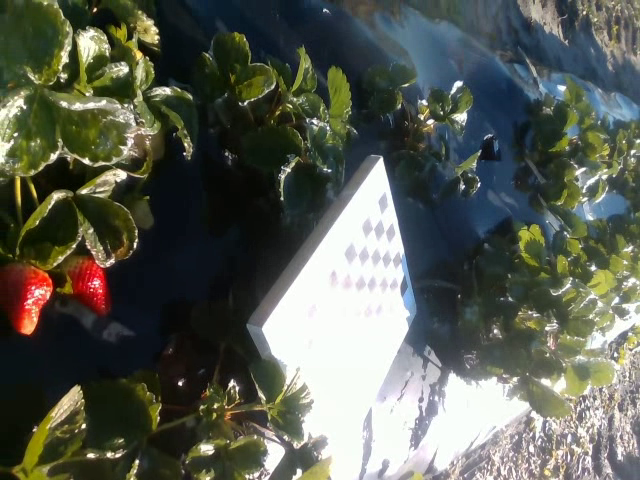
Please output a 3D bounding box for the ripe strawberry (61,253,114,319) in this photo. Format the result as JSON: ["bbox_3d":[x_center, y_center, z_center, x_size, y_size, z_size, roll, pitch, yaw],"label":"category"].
[{"bbox_3d":[-0.205,0.041,0.552,0.040,0.059,0.044,5,42,36],"label":"ripe strawberry"}]

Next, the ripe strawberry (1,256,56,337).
[{"bbox_3d":[-0.243,0.052,0.514,0.040,0.070,0.052,1,-6,25],"label":"ripe strawberry"}]
